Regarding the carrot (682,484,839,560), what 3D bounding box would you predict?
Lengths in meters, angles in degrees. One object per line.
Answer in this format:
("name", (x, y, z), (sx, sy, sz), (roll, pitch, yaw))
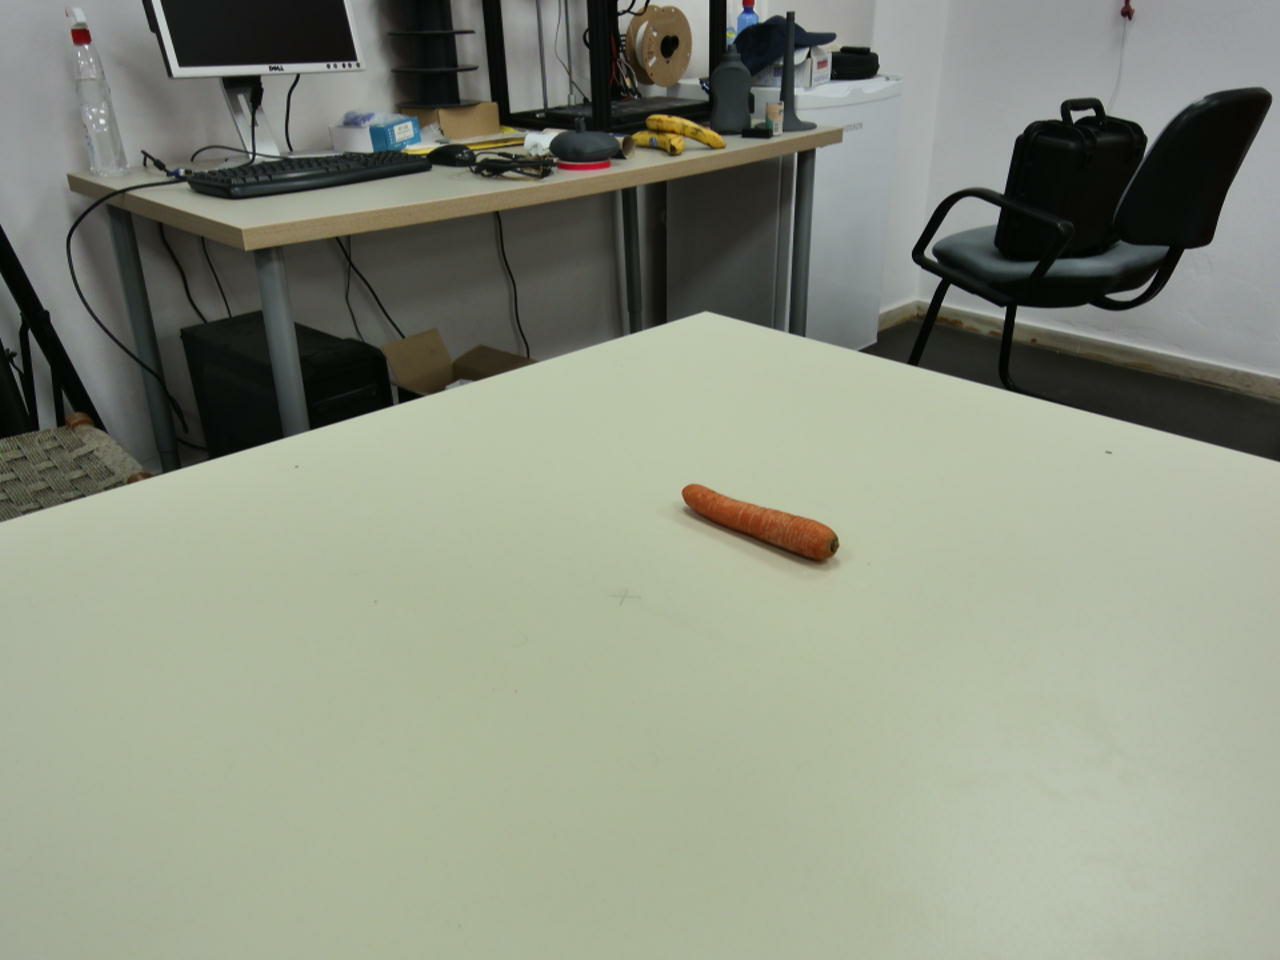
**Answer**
("carrot", (0.073, 0.024, 0.638), (0.122, 0.023, 0.024), (22, 32, 40))
